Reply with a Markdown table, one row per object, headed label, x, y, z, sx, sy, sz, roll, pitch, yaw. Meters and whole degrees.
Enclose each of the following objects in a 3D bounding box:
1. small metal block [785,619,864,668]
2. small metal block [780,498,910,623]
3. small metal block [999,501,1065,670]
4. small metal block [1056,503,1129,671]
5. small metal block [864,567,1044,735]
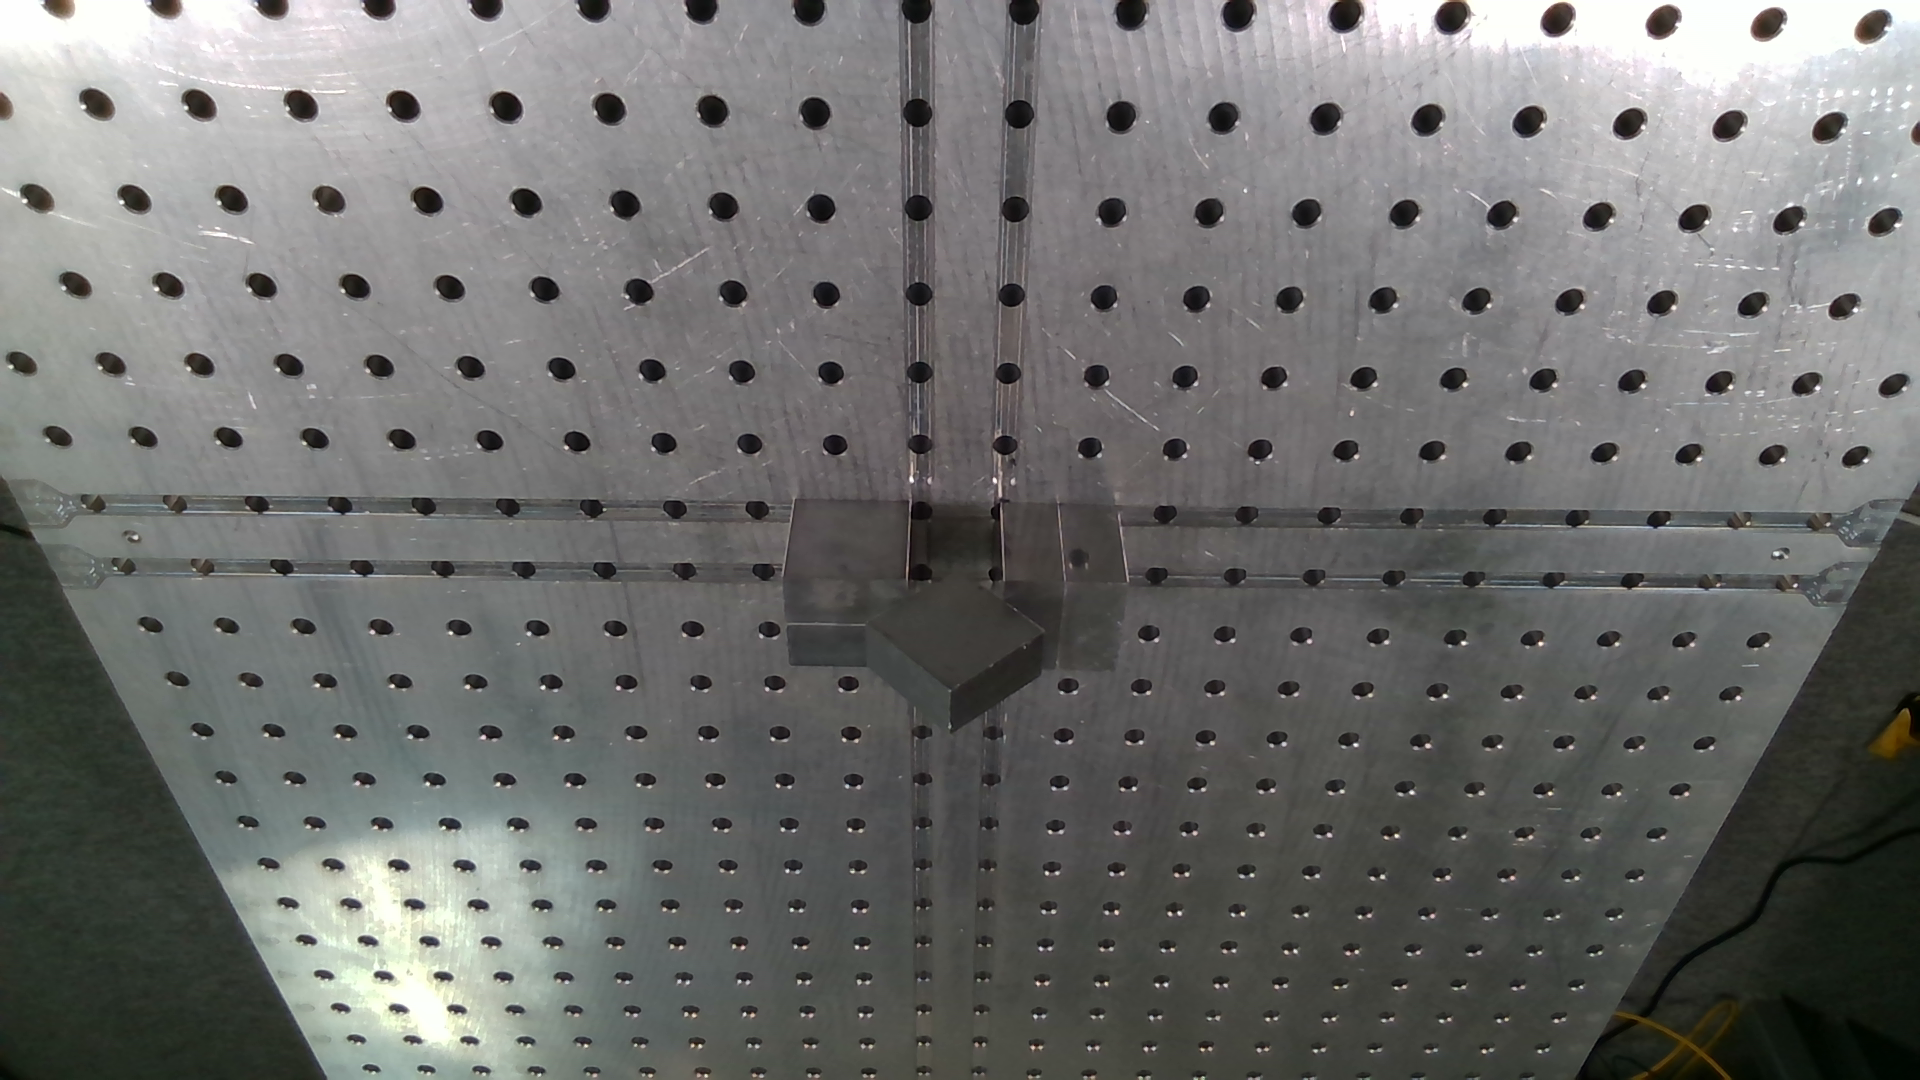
| label | x | y | z | sx | sy | sz | roll | pitch | yaw |
| --- | --- | --- | --- | --- | --- | --- | --- | --- | --- |
| small metal block | -0.047 | 0.028 | 0.588 | 0.050 | 0.050 | 0.025 | 1 | 130 | -1 |
| small metal block | -0.046 | 0.008 | 0.573 | 0.050 | 0.050 | 0.025 | 1 | 130 | -1 |
| small metal block | 0.028 | 0.019 | 0.581 | 0.025 | 0.050 | 0.050 | 2 | 130 | -1 |
| small metal block | 0.054 | 0.020 | 0.582 | 0.025 | 0.050 | 0.050 | 2 | 130 | -1 |
| small metal block | -0.002 | 0.043 | 0.548 | 0.050 | 0.050 | 0.025 | -30 | 138 | -32 |
